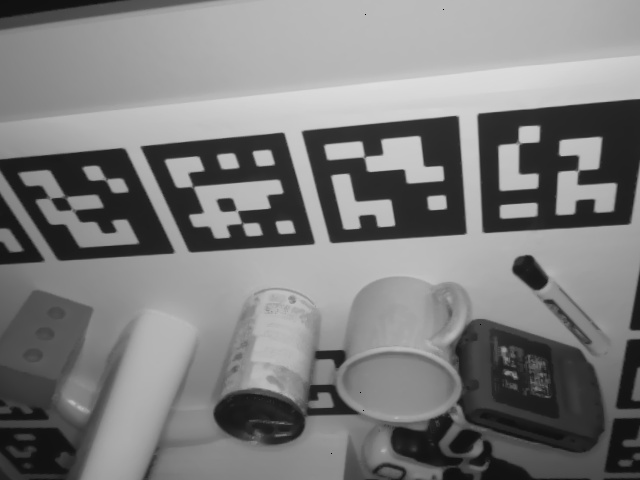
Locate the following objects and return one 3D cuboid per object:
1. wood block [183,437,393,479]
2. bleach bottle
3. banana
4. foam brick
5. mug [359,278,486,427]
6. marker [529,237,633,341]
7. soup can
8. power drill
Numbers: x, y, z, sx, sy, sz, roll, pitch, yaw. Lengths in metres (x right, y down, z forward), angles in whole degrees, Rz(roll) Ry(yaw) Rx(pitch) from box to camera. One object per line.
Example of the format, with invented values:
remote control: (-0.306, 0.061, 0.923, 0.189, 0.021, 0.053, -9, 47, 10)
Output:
wood block: (-0.033, 0.273, 0.713, 0.205, 0.092, 0.089, -8, 126, 15)
bleach bottle: (-0.138, 0.186, 0.547, 0.068, 0.253, 0.101, 15, 131, -4)
banana: (-0.131, 0.202, 0.696, 0.197, 0.039, 0.073, 6, 116, 6)
foam brick: (-0.215, 0.104, 0.606, 0.053, 0.079, 0.050, 18, 132, -9)
mug: (0.086, 0.076, 0.536, 0.094, 0.082, 0.115, 28, 125, -12)
marker: (0.200, 0.038, 0.533, 0.019, 0.020, 0.121, -36, 116, 29)
soup can: (-0.018, 0.103, 0.552, 0.068, 0.103, 0.067, 5, 134, 6)
power drill: (0.172, 0.169, 0.625, 0.185, 0.058, 0.184, 17, 131, -2)
